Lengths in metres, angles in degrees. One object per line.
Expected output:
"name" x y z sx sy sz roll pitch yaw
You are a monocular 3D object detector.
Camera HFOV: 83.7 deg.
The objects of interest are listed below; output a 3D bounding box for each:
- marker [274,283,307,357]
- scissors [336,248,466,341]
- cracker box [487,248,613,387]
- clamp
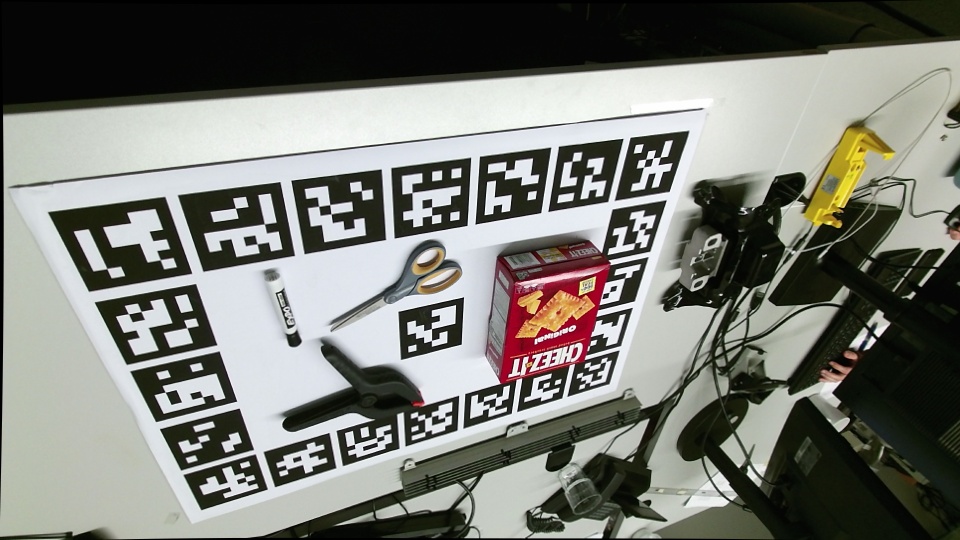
"marker" -0.243 0.069 0.692 0.020 0.019 0.121 -15 131 -18
"scissors" -0.112 0.045 0.746 0.203 0.016 0.088 -32 135 1
"cracker box" 0.107 0.080 0.857 0.165 0.072 0.213 -11 129 -21
"clamp" -0.172 0.202 0.844 0.203 0.036 0.165 18 116 -36
